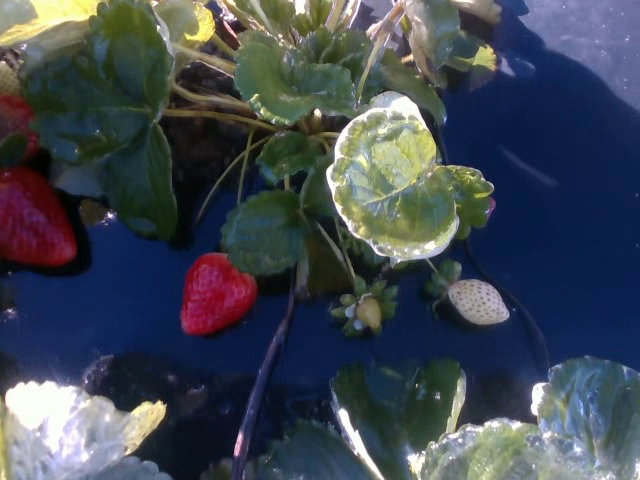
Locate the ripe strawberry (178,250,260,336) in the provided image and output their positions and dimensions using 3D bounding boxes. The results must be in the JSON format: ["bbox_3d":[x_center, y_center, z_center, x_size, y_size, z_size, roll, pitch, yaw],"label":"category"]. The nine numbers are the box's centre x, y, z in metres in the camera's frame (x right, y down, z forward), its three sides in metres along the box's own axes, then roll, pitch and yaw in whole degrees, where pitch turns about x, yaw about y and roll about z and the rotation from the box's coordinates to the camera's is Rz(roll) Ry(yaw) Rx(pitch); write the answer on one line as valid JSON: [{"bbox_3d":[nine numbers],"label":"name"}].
[{"bbox_3d":[-0.047,0.027,0.273,0.039,0.047,0.040,33,-14,-7],"label":"ripe strawberry"}]

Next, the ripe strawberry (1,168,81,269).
[{"bbox_3d":[-0.136,-0.006,0.275,0.056,0.044,0.040,44,-4,-6],"label":"ripe strawberry"}]
